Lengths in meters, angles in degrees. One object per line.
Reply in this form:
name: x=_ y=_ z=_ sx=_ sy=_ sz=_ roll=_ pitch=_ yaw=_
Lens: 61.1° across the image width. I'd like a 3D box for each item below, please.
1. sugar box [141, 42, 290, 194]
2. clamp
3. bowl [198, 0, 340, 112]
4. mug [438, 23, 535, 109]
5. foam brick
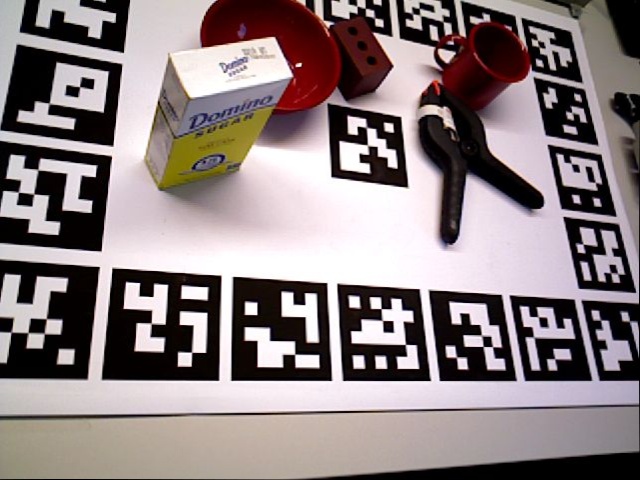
sugar box: x=-0.101 y=-0.104 z=0.488 sx=0.091 sy=0.180 sz=0.045 roll=-21 pitch=81 yaw=-29
clamp: x=0.176 y=-0.108 z=0.673 sx=0.162 sy=0.037 sz=0.203 roll=-20 pitch=81 yaw=-24
bowl: x=-0.061 y=-0.202 z=0.608 sx=0.160 sy=0.056 sz=0.160 roll=8 pitch=69 yaw=-20
mug: x=0.206 y=-0.232 z=0.708 sx=0.117 sy=0.083 sz=0.092 roll=31 pitch=62 yaw=-13
foam brick: x=0.043 y=-0.215 z=0.663 sx=0.052 sy=0.052 sz=0.078 roll=-24 pitch=83 yaw=-27
